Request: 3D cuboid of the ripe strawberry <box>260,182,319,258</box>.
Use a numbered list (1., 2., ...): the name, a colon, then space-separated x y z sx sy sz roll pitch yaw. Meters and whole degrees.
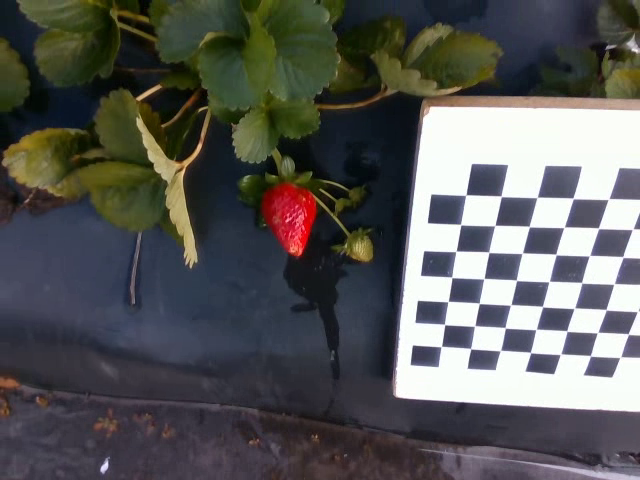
1. ripe strawberry: -0.021 -0.012 0.439 0.043 0.057 0.052 -17 -31 21
